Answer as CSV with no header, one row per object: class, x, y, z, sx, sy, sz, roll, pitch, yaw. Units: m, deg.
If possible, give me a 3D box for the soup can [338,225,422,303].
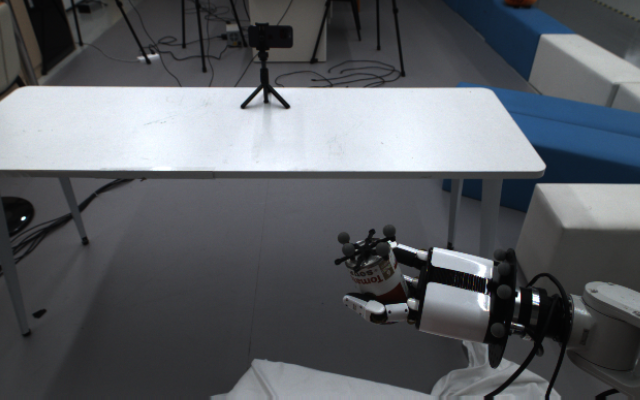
soup can,0.085,0.110,0.670,0.067,0.101,0.067,-21,24,10
